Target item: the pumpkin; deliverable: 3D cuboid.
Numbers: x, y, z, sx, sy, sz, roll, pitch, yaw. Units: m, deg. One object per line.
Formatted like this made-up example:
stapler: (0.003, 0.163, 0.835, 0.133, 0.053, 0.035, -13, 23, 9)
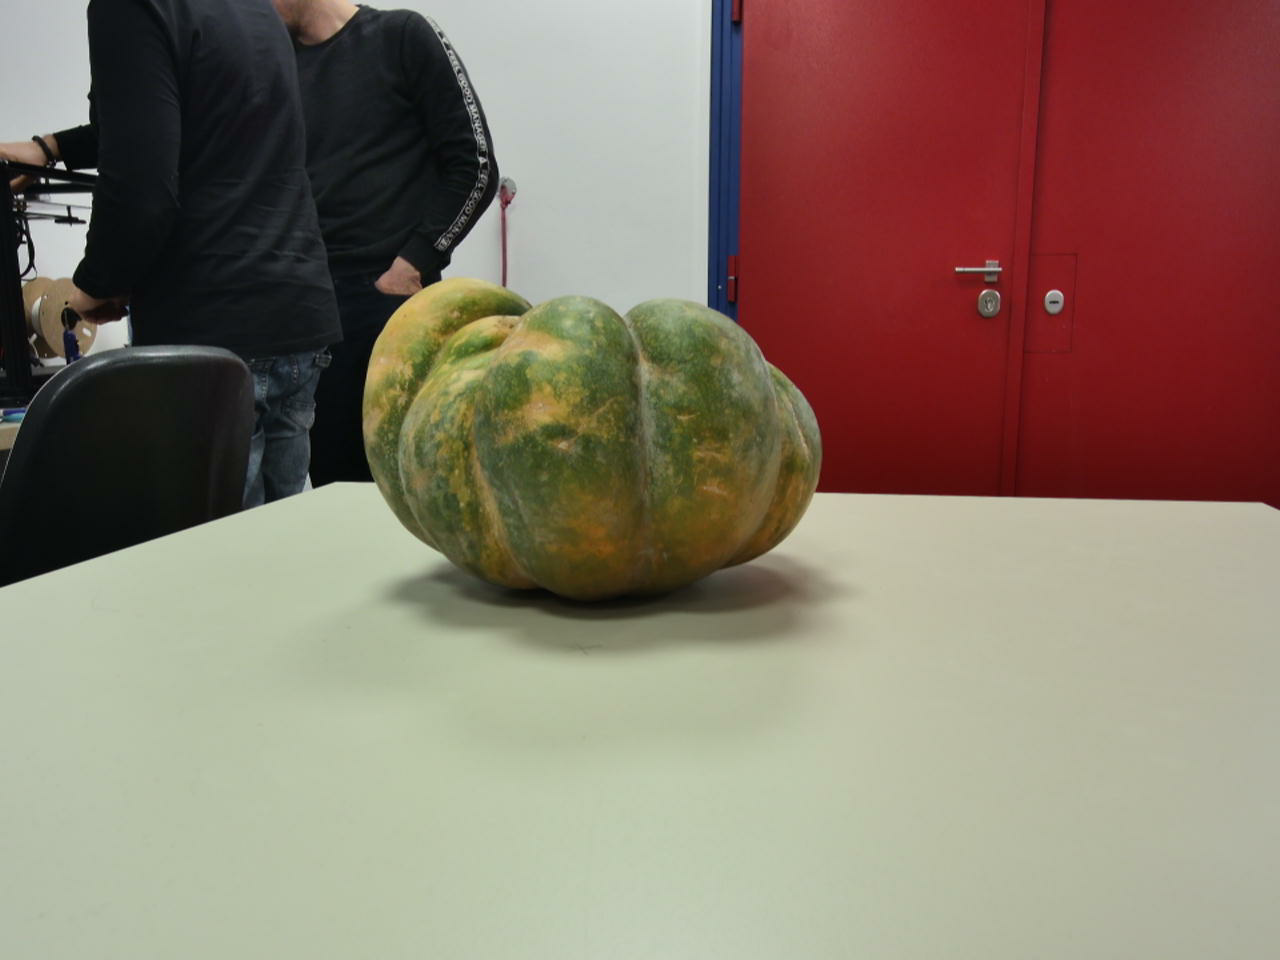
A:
pumpkin: (-0.028, -0.026, 0.573, 0.237, 0.173, 0.270, -6, 9, -41)
